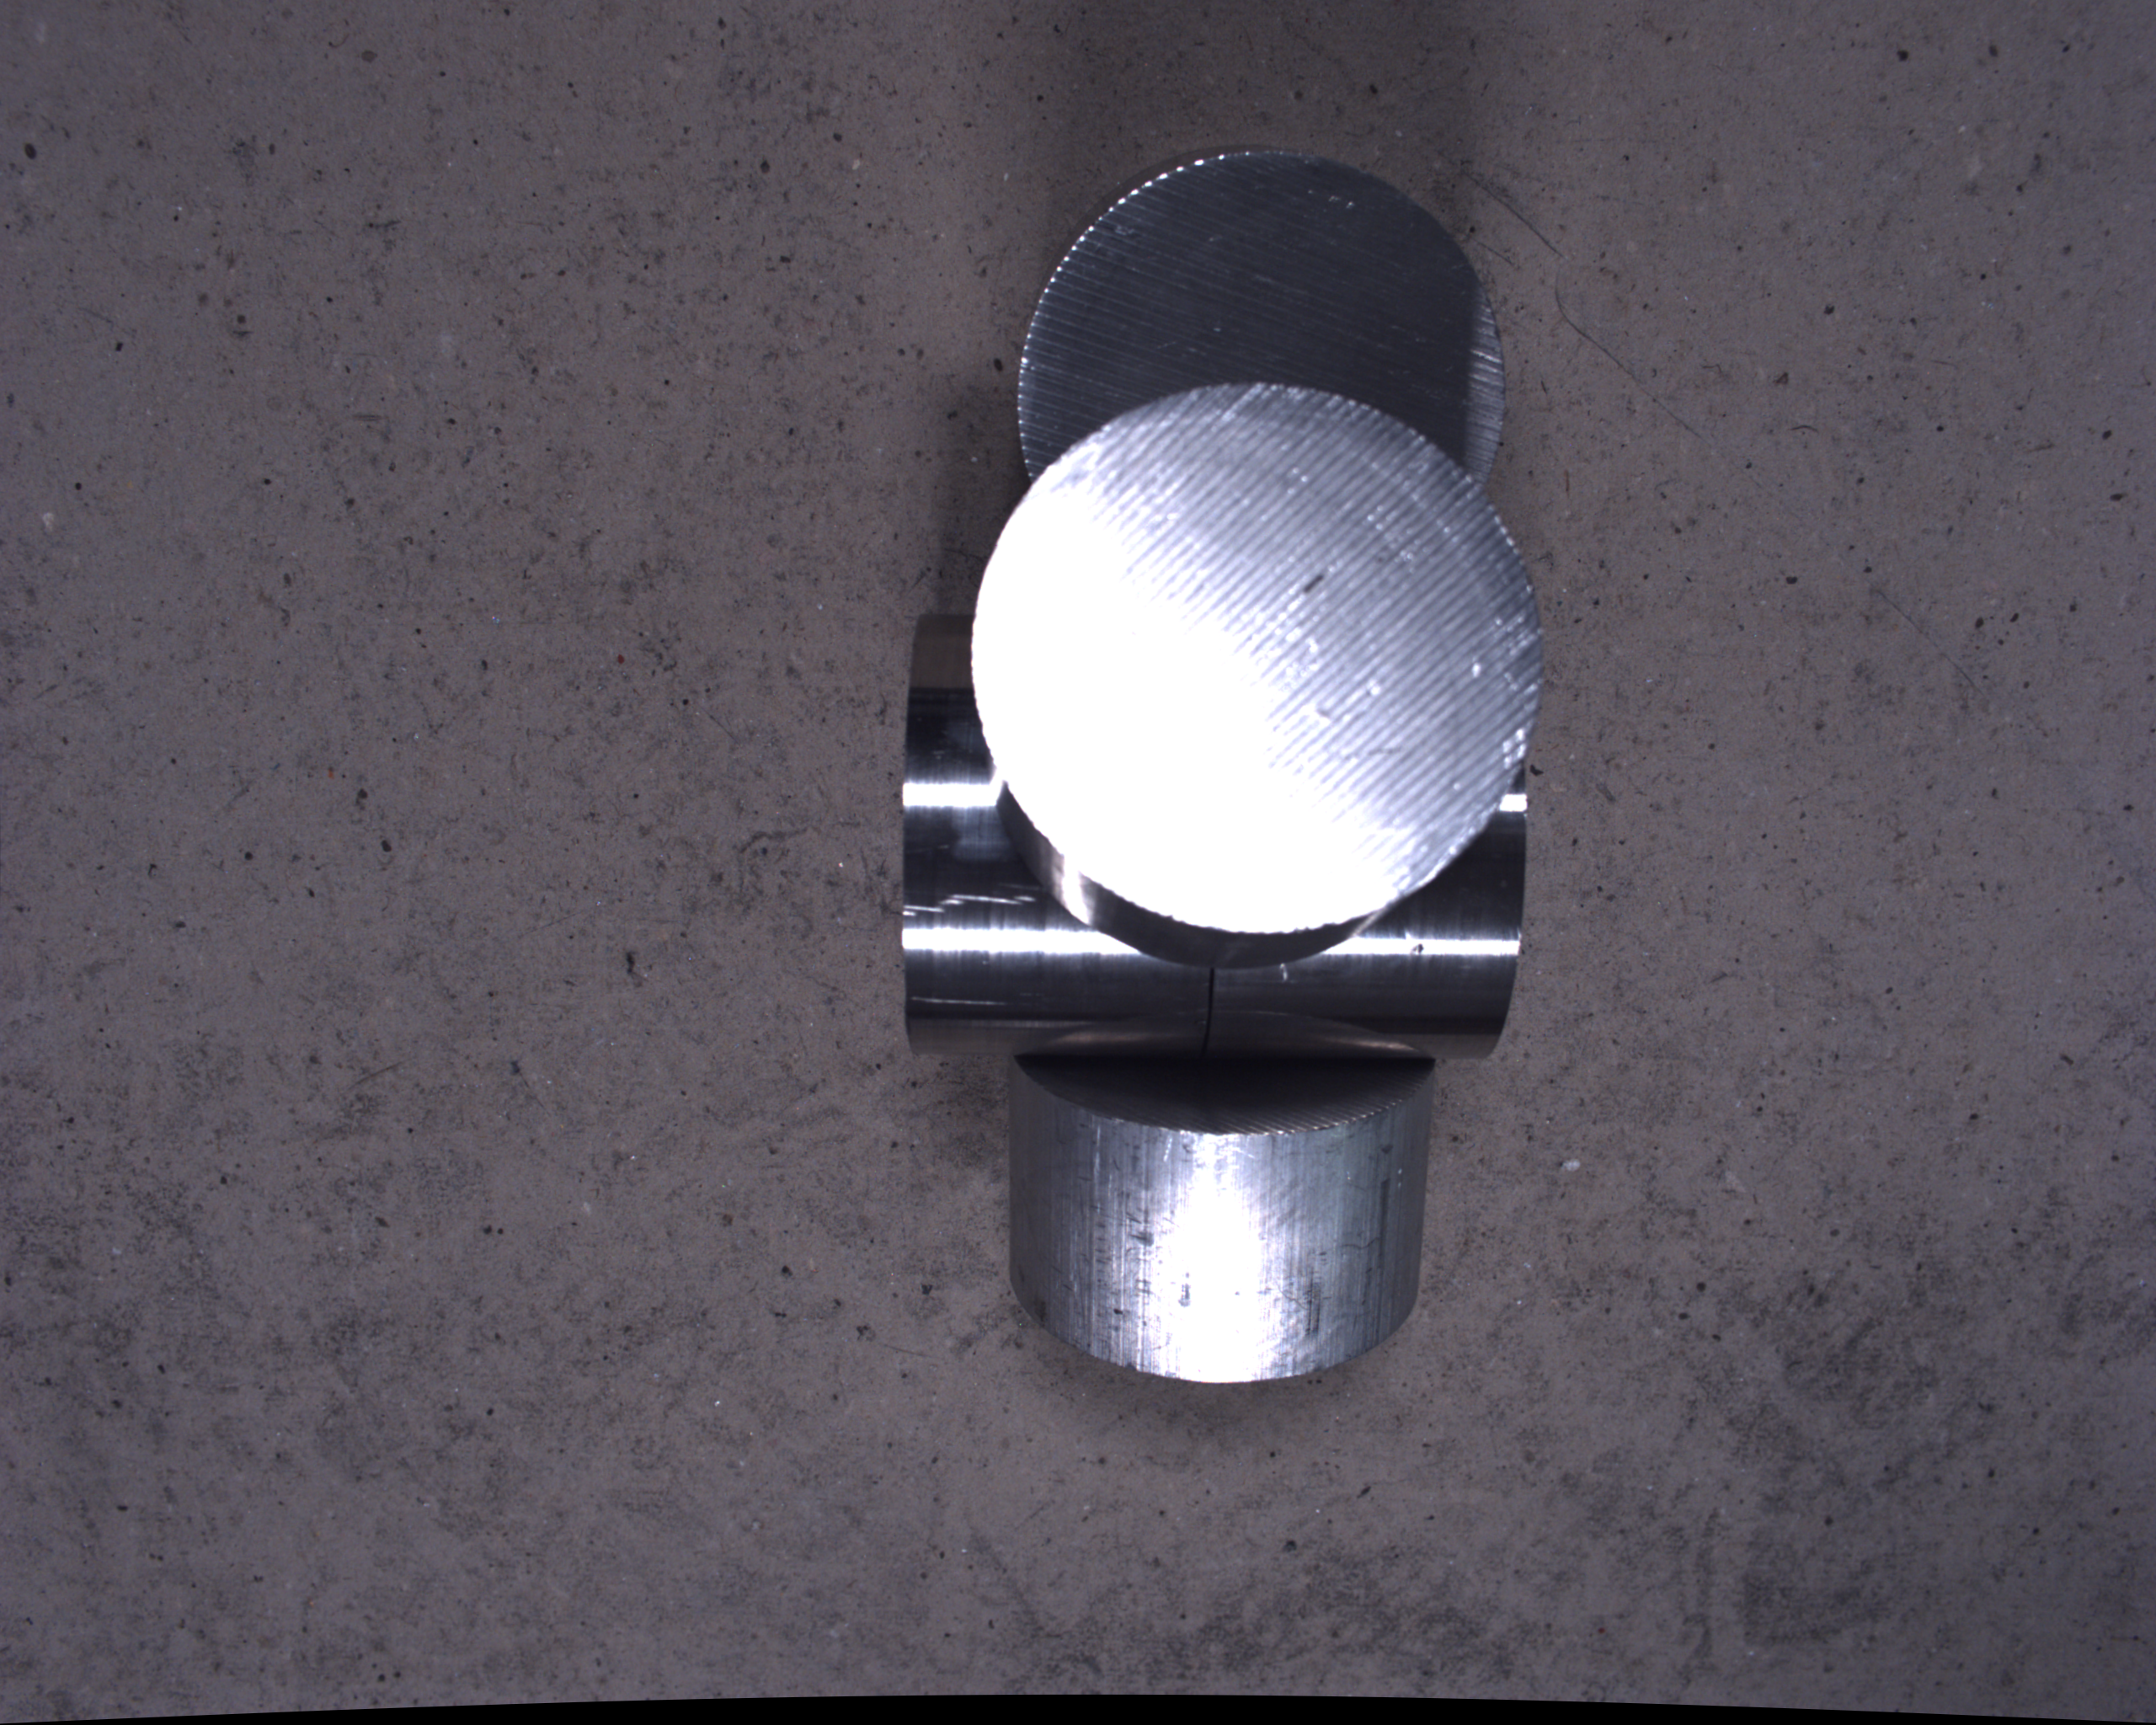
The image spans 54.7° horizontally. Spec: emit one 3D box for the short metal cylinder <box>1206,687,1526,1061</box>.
[{"bbox_3d":[0.048,-0.004,0.380,0.050,0.080,0.079,0,110,0],"label":"short metal cylinder"}]

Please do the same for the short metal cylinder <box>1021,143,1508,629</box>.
[{"bbox_3d":[0.031,-0.084,0.368,0.081,0.050,0.079,0,110,-1],"label":"short metal cylinder"}]

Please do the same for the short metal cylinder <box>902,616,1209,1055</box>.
[{"bbox_3d":[-0.004,-0.005,0.380,0.050,0.080,0.079,1,110,-1],"label":"short metal cylinder"}]

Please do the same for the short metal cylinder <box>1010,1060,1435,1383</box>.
[{"bbox_3d":[0.027,0.056,0.403,0.081,0.080,0.050,0,110,-1],"label":"short metal cylinder"}]

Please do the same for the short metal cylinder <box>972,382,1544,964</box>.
[{"bbox_3d":[0.025,-0.026,0.318,0.081,0.050,0.080,0,82,-1],"label":"short metal cylinder"}]
